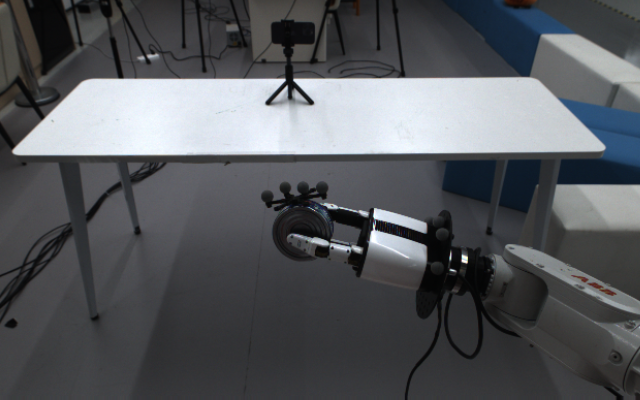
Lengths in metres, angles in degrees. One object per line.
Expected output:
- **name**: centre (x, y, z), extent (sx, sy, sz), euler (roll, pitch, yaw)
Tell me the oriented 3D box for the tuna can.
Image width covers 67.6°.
- **tuna can**: centre (-0.021, 0.049, 0.689), extent (0.085, 0.085, 0.034), euler (6, 18, 5)
